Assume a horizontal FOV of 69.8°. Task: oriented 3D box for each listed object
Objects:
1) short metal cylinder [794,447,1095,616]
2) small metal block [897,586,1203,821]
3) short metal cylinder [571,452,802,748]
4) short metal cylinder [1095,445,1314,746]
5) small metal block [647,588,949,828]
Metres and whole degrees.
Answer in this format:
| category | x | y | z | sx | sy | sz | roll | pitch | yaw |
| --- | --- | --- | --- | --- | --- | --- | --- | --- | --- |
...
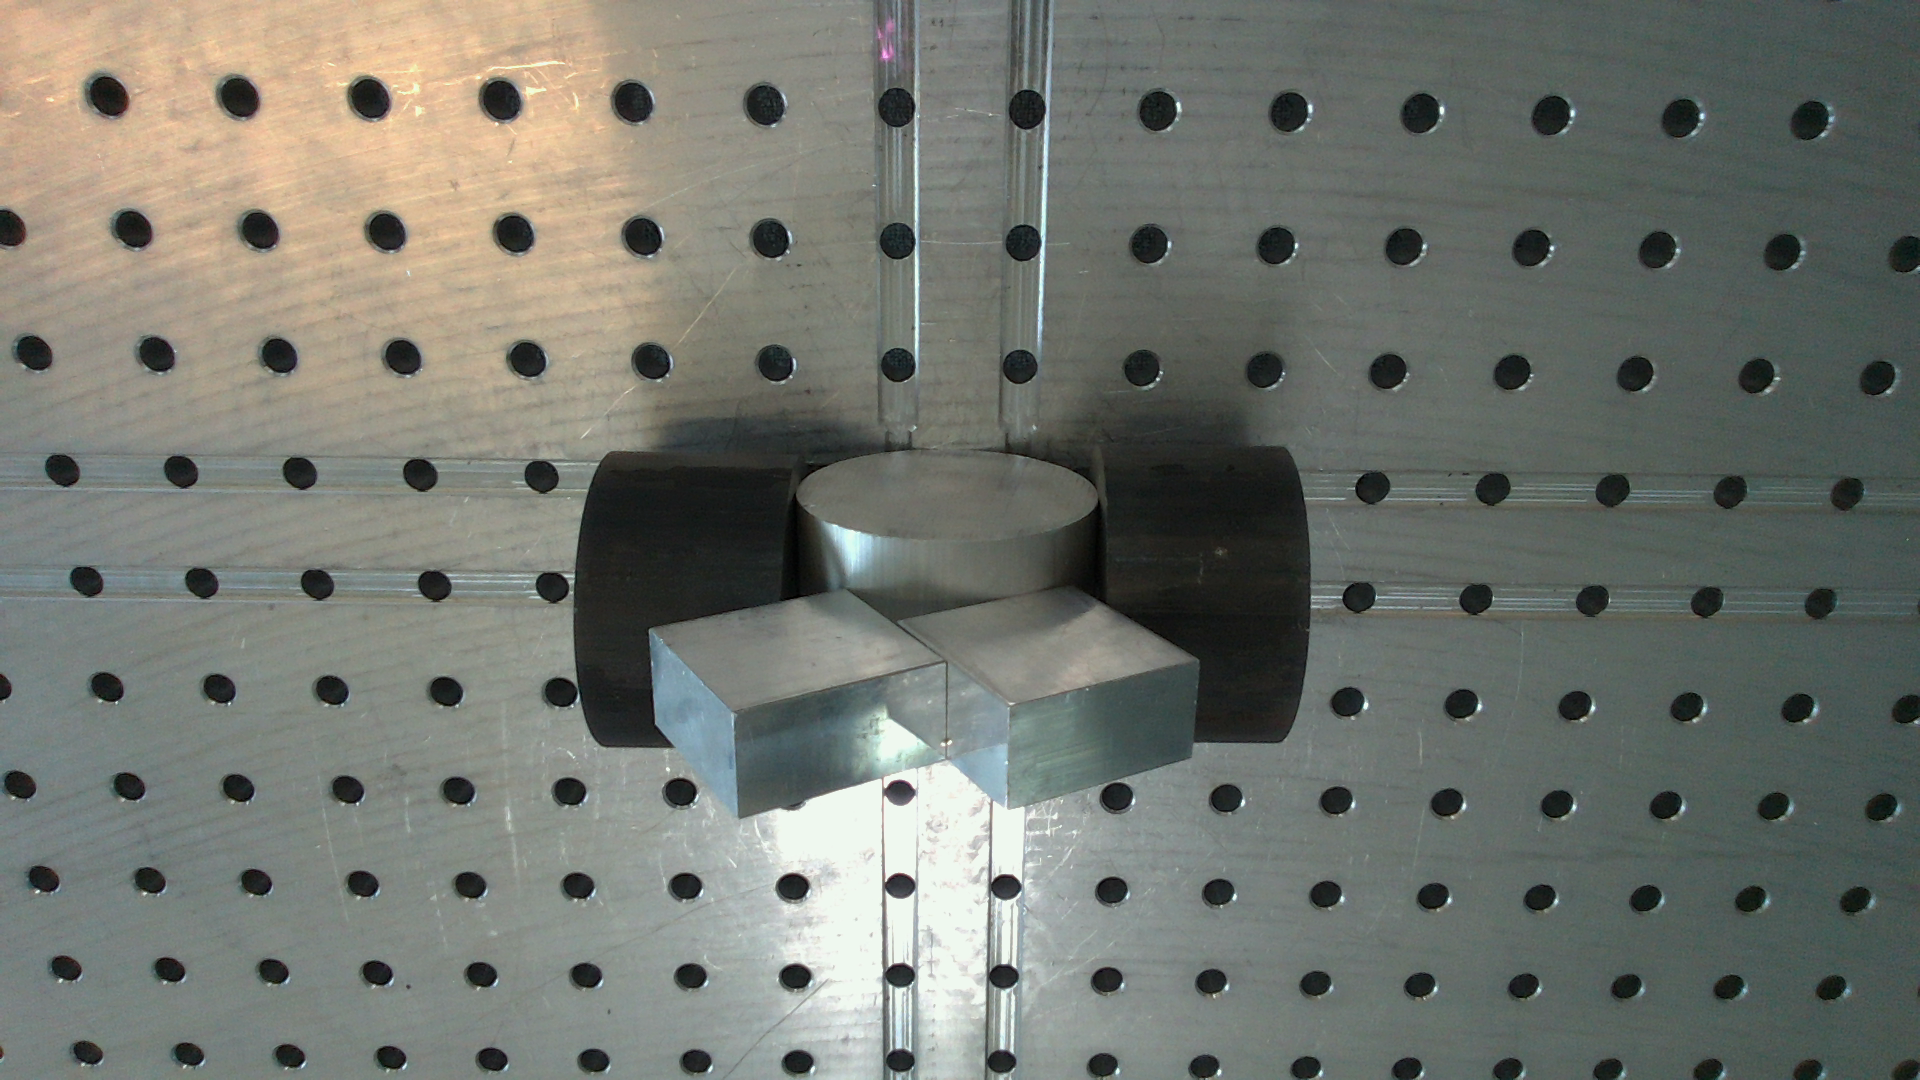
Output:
| category | x | y | z | sx | sy | sz | roll | pitch | yaw |
| --- | --- | --- | --- | --- | --- | --- | --- | --- | --- |
| short metal cylinder | -0.004 | 0.010 | 0.371 | 0.080 | 0.080 | 0.050 | 1 | 110 | 0 |
| small metal block | 0.019 | 0.035 | 0.314 | 0.050 | 0.050 | 0.025 | -11 | 113 | -29 |
| short metal cylinder | -0.069 | 0.016 | 0.372 | 0.050 | 0.080 | 0.080 | 1 | 110 | 0 |
| short metal cylinder | 0.061 | 0.015 | 0.372 | 0.050 | 0.080 | 0.080 | 1 | 110 | 1 |
| small metal block | -0.037 | 0.035 | 0.309 | 0.050 | 0.050 | 0.025 | -11 | 113 | -30 |
